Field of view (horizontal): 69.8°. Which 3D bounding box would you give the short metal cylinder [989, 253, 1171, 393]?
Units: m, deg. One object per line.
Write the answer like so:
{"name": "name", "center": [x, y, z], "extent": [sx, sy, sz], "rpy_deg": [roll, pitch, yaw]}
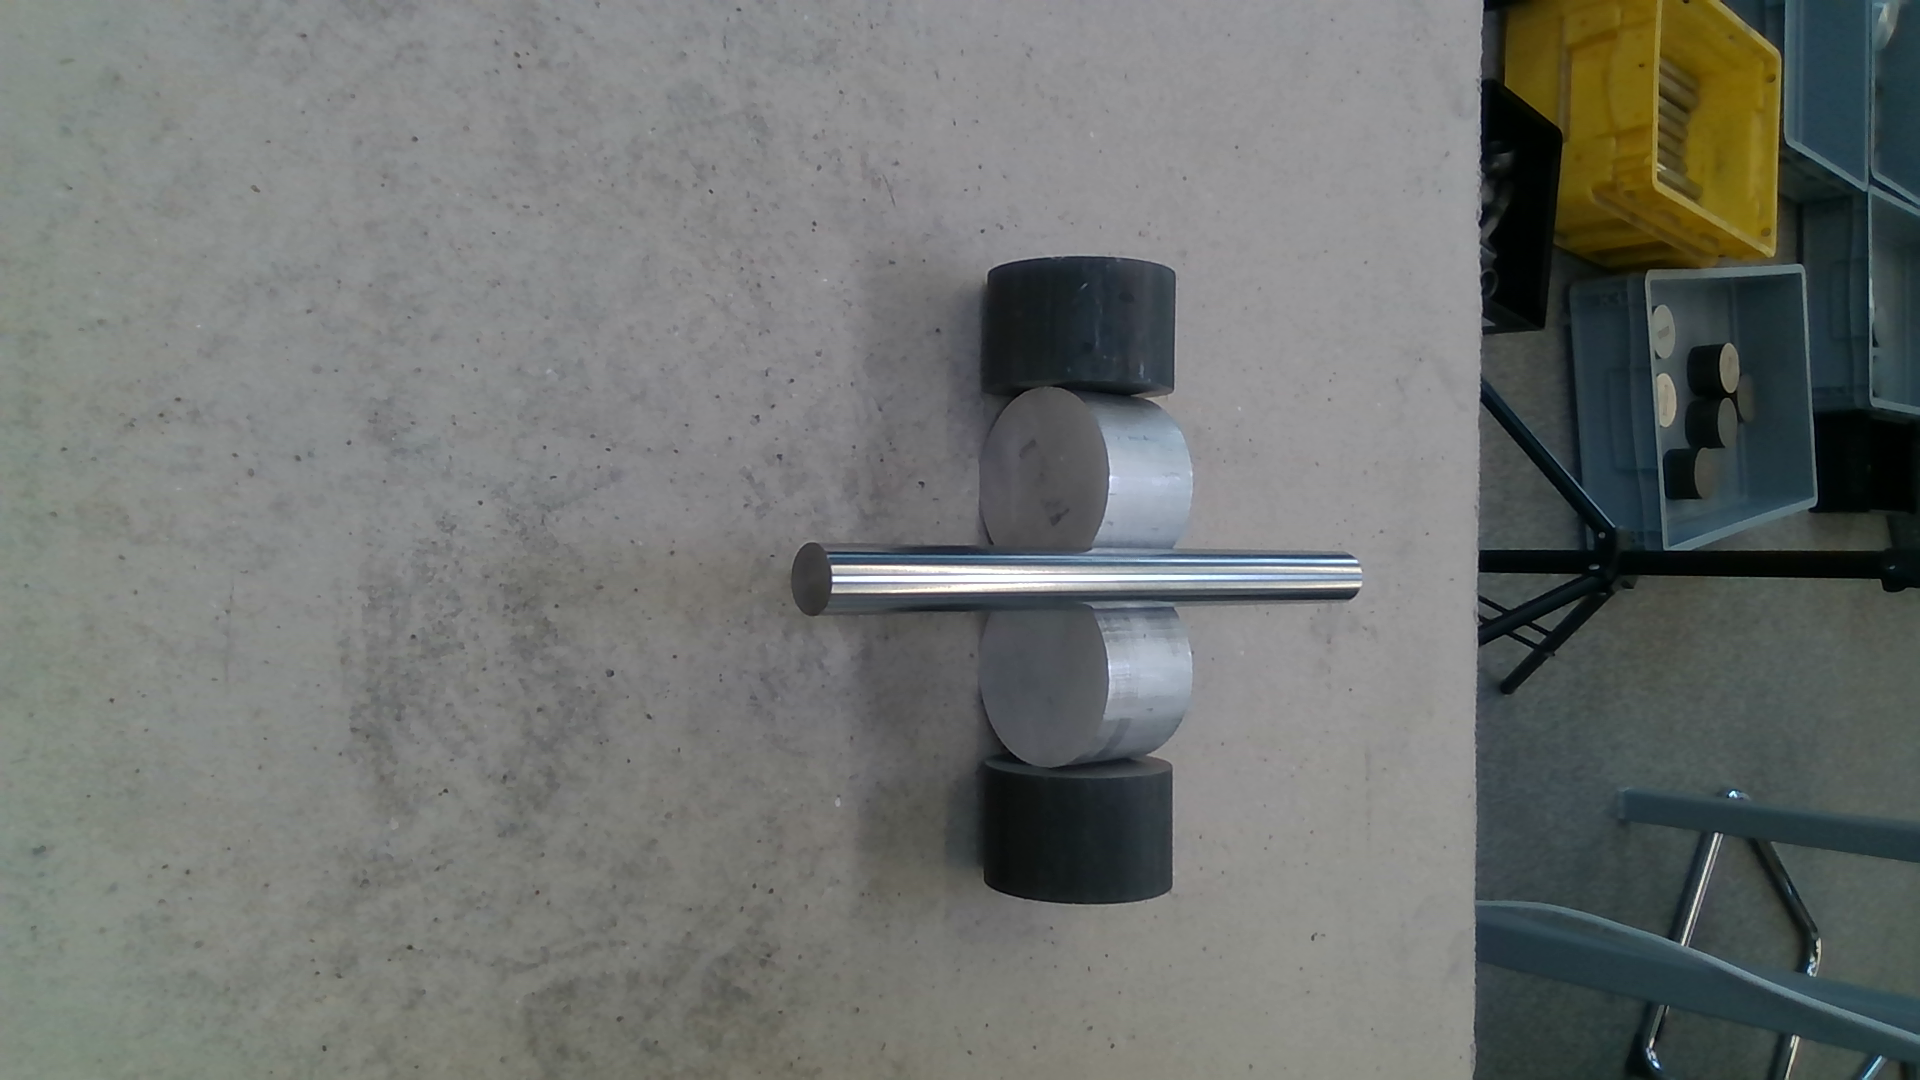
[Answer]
{"name": "short metal cylinder", "center": [0.051, -0.089, 0.591], "extent": [0.080, 0.080, 0.050], "rpy_deg": [1, 89, -40]}

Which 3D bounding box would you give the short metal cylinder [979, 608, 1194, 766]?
{"name": "short metal cylinder", "center": [0.053, 0.055, 0.593], "extent": [0.050, 0.080, 0.080], "rpy_deg": [1, 89, -40]}

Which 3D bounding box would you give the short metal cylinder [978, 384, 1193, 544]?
{"name": "short metal cylinder", "center": [0.053, -0.025, 0.593], "extent": [0.050, 0.080, 0.080], "rpy_deg": [1, 89, -40]}

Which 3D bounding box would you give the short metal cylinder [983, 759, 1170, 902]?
{"name": "short metal cylinder", "center": [0.050, 0.120, 0.590], "extent": [0.080, 0.080, 0.050], "rpy_deg": [1, 89, -40]}

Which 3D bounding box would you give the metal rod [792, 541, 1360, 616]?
{"name": "metal rod", "center": [0.065, 0.015, 0.558], "extent": [0.300, 0.025, 0.025], "rpy_deg": [1, 89, -40]}
